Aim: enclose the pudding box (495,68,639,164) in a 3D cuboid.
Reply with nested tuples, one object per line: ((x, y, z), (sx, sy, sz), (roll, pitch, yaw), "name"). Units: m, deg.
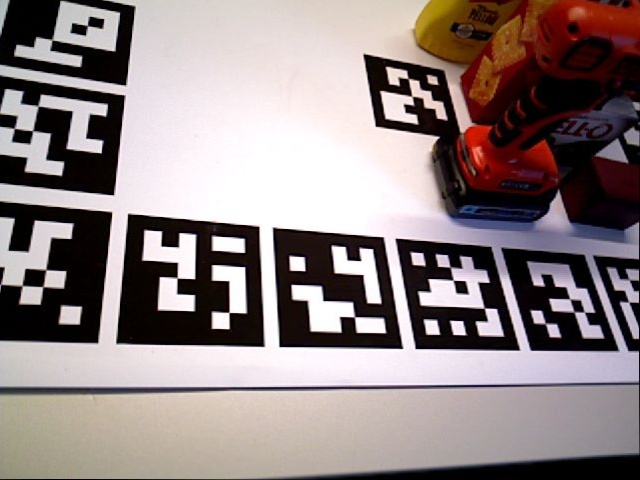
((0.251, -0.123, 0.550), (0.112, 0.092, 0.038), (4, 60, -16), "pudding box")

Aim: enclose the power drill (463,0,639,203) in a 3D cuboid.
((0.223, -0.105, 0.446), (0.182, 0.191, 0.057), (4, 59, -20), "power drill")

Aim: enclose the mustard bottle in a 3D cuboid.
((0.179, -0.284, 0.549), (0.095, 0.196, 0.057), (16, 59, -13), "mustard bottle")

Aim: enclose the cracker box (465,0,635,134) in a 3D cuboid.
((0.271, -0.191, 0.528), (0.162, 0.219, 0.071), (1, 61, -18), "cracker box")

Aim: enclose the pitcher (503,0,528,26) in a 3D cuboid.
((0.307, -0.280, 0.582), (0.187, 0.248, 0.131), (9, 60, -15), "pitcher")

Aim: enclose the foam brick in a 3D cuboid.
((0.300, -0.046, 0.569), (0.077, 0.052, 0.052), (6, 63, -18), "foam brick")
